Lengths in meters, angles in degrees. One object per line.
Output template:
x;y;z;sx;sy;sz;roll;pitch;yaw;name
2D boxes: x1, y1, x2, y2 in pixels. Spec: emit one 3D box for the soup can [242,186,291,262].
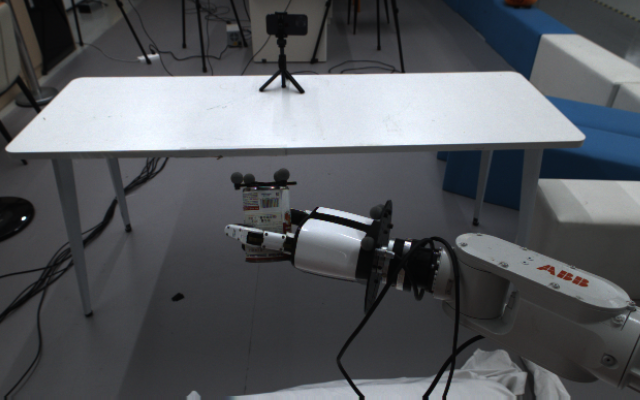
-0.072;0.034;0.676;0.067;0.101;0.067;-3;-1;0;soup can
